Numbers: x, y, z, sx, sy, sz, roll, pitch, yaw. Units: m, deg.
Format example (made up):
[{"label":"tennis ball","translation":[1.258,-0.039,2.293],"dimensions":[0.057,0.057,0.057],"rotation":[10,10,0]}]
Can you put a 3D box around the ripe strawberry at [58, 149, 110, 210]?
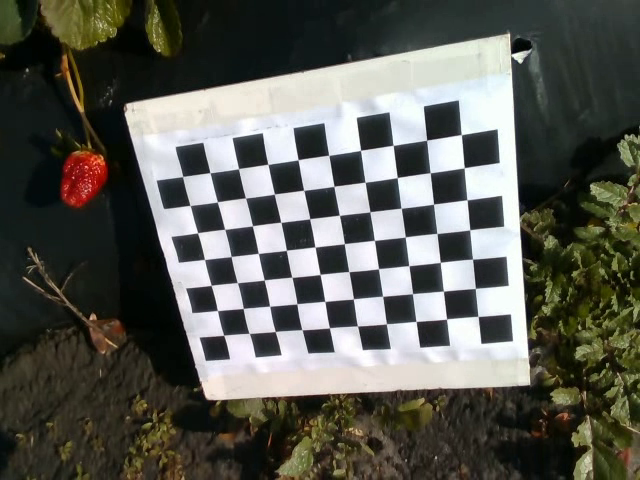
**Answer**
[{"label":"ripe strawberry","translation":[-0.071,-0.019,0.181],"dimensions":[0.015,0.023,0.015],"rotation":[1,-30,11]}]
